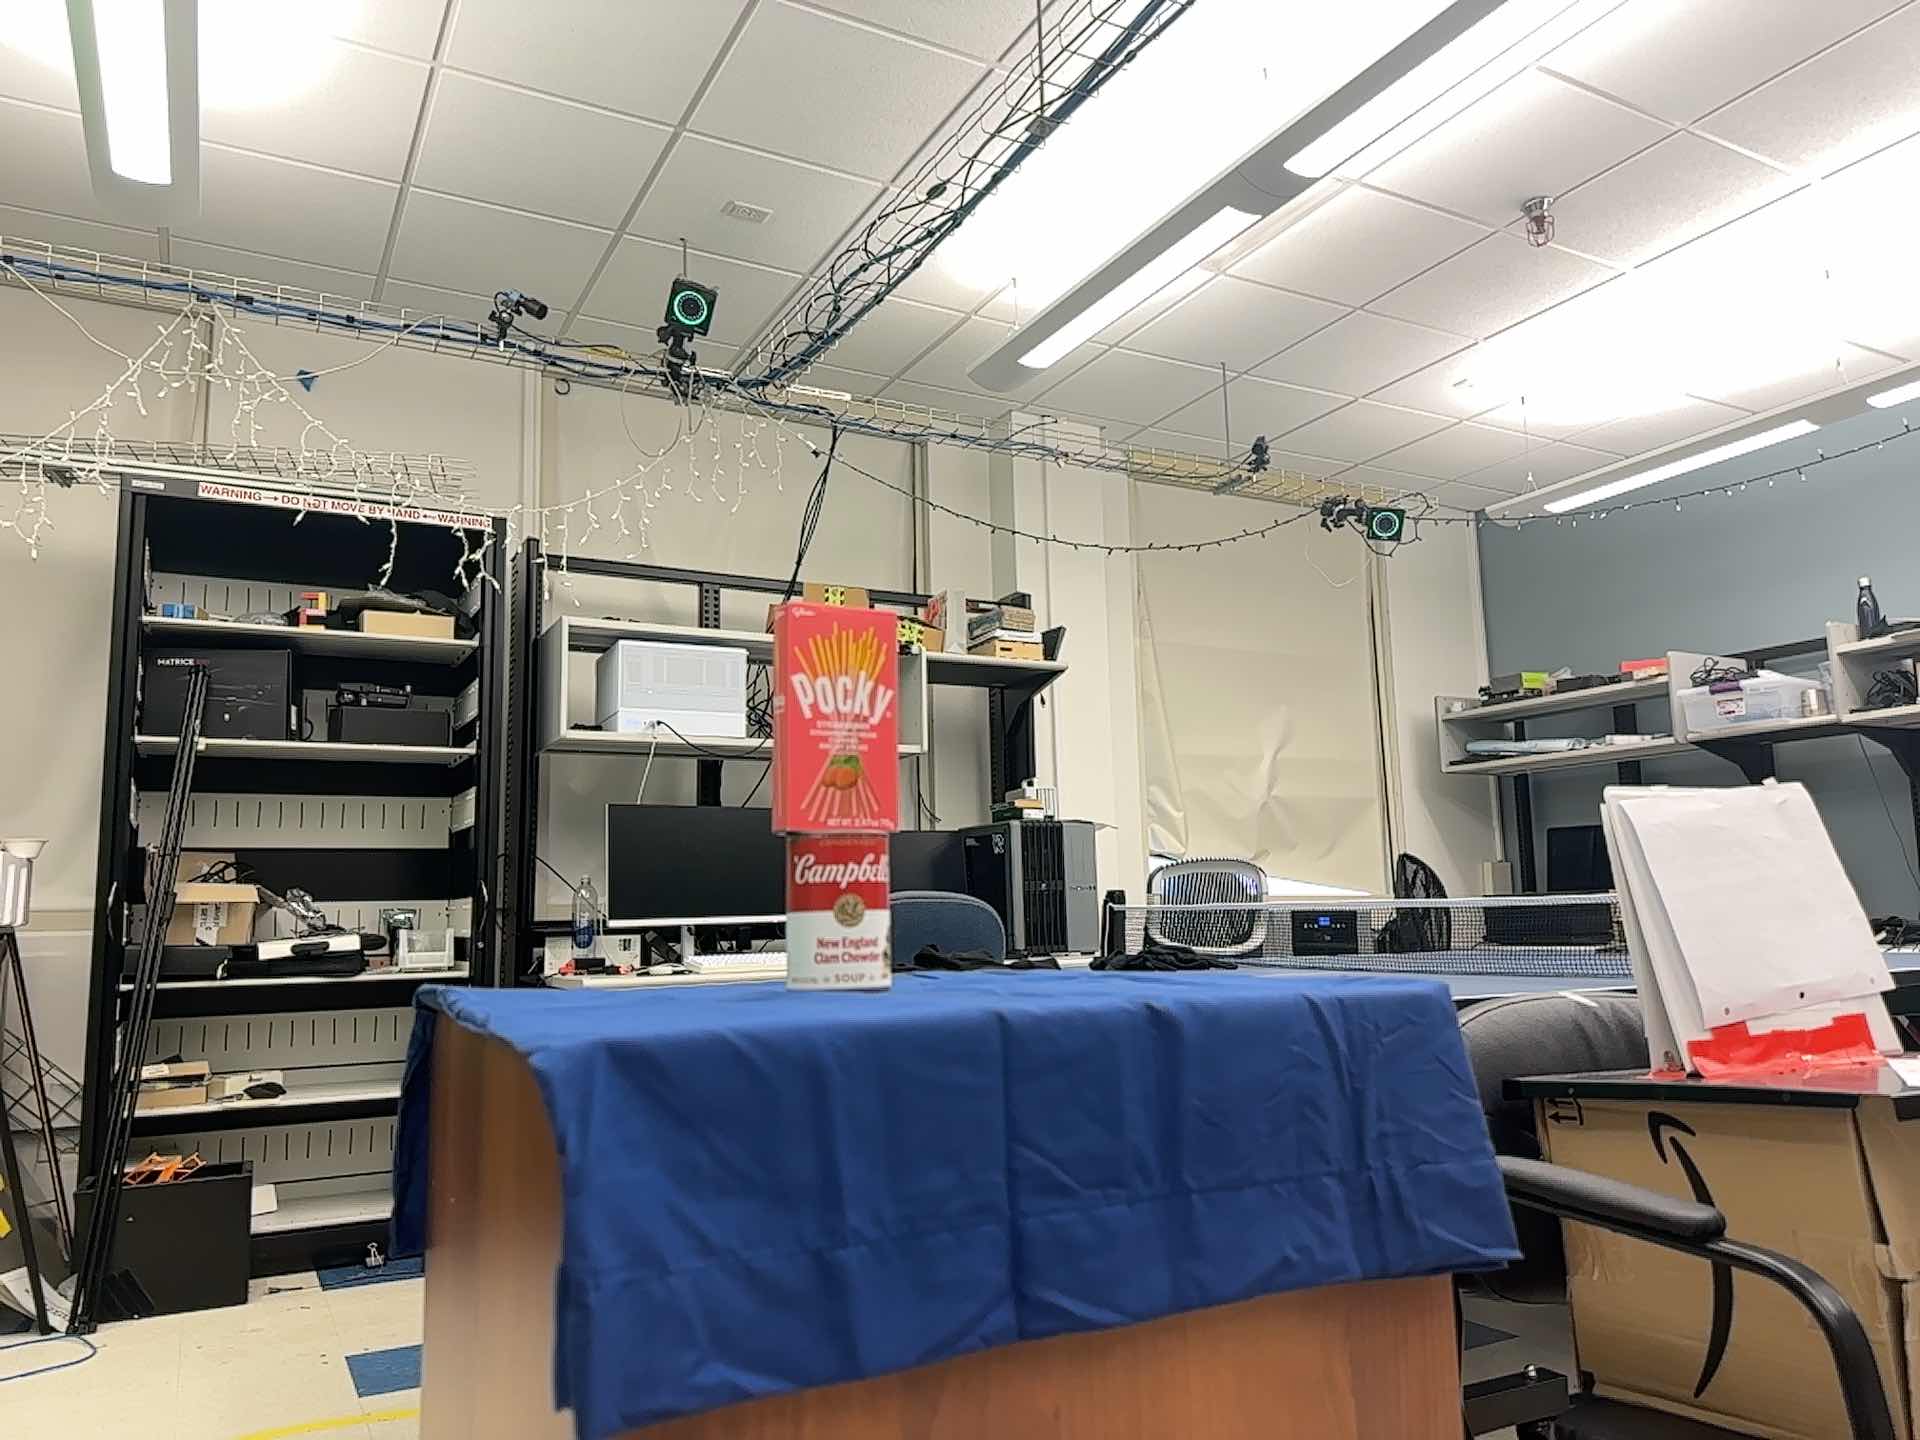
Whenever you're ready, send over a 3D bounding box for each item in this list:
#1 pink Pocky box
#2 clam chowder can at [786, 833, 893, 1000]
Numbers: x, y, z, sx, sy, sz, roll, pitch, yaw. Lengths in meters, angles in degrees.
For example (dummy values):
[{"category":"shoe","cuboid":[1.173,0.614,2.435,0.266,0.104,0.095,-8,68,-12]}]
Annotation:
[{"category":"pink Pocky box","cuboid":[-0.082,-0.001,0.881,0.084,0.155,0.029,2,-8,-23]},{"category":"clam chowder can","cuboid":[-0.078,0.127,0.868,0.068,0.102,0.068,-2,-8,0]}]
